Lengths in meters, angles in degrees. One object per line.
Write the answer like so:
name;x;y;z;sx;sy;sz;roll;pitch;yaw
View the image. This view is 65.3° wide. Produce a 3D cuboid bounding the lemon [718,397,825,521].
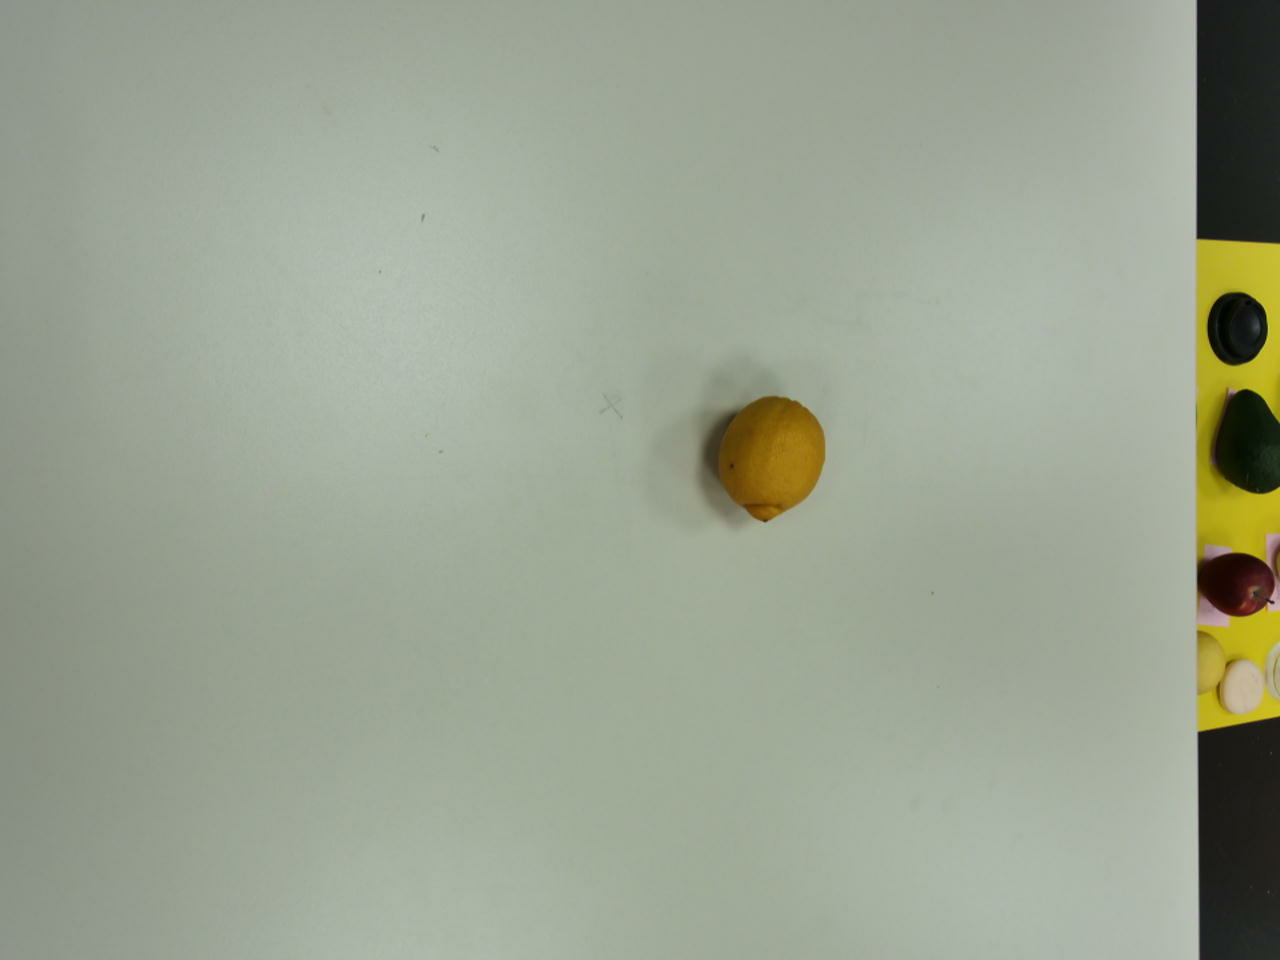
lemon;0.075;-0.014;0.575;0.061;0.059;0.067;43;75;-16
